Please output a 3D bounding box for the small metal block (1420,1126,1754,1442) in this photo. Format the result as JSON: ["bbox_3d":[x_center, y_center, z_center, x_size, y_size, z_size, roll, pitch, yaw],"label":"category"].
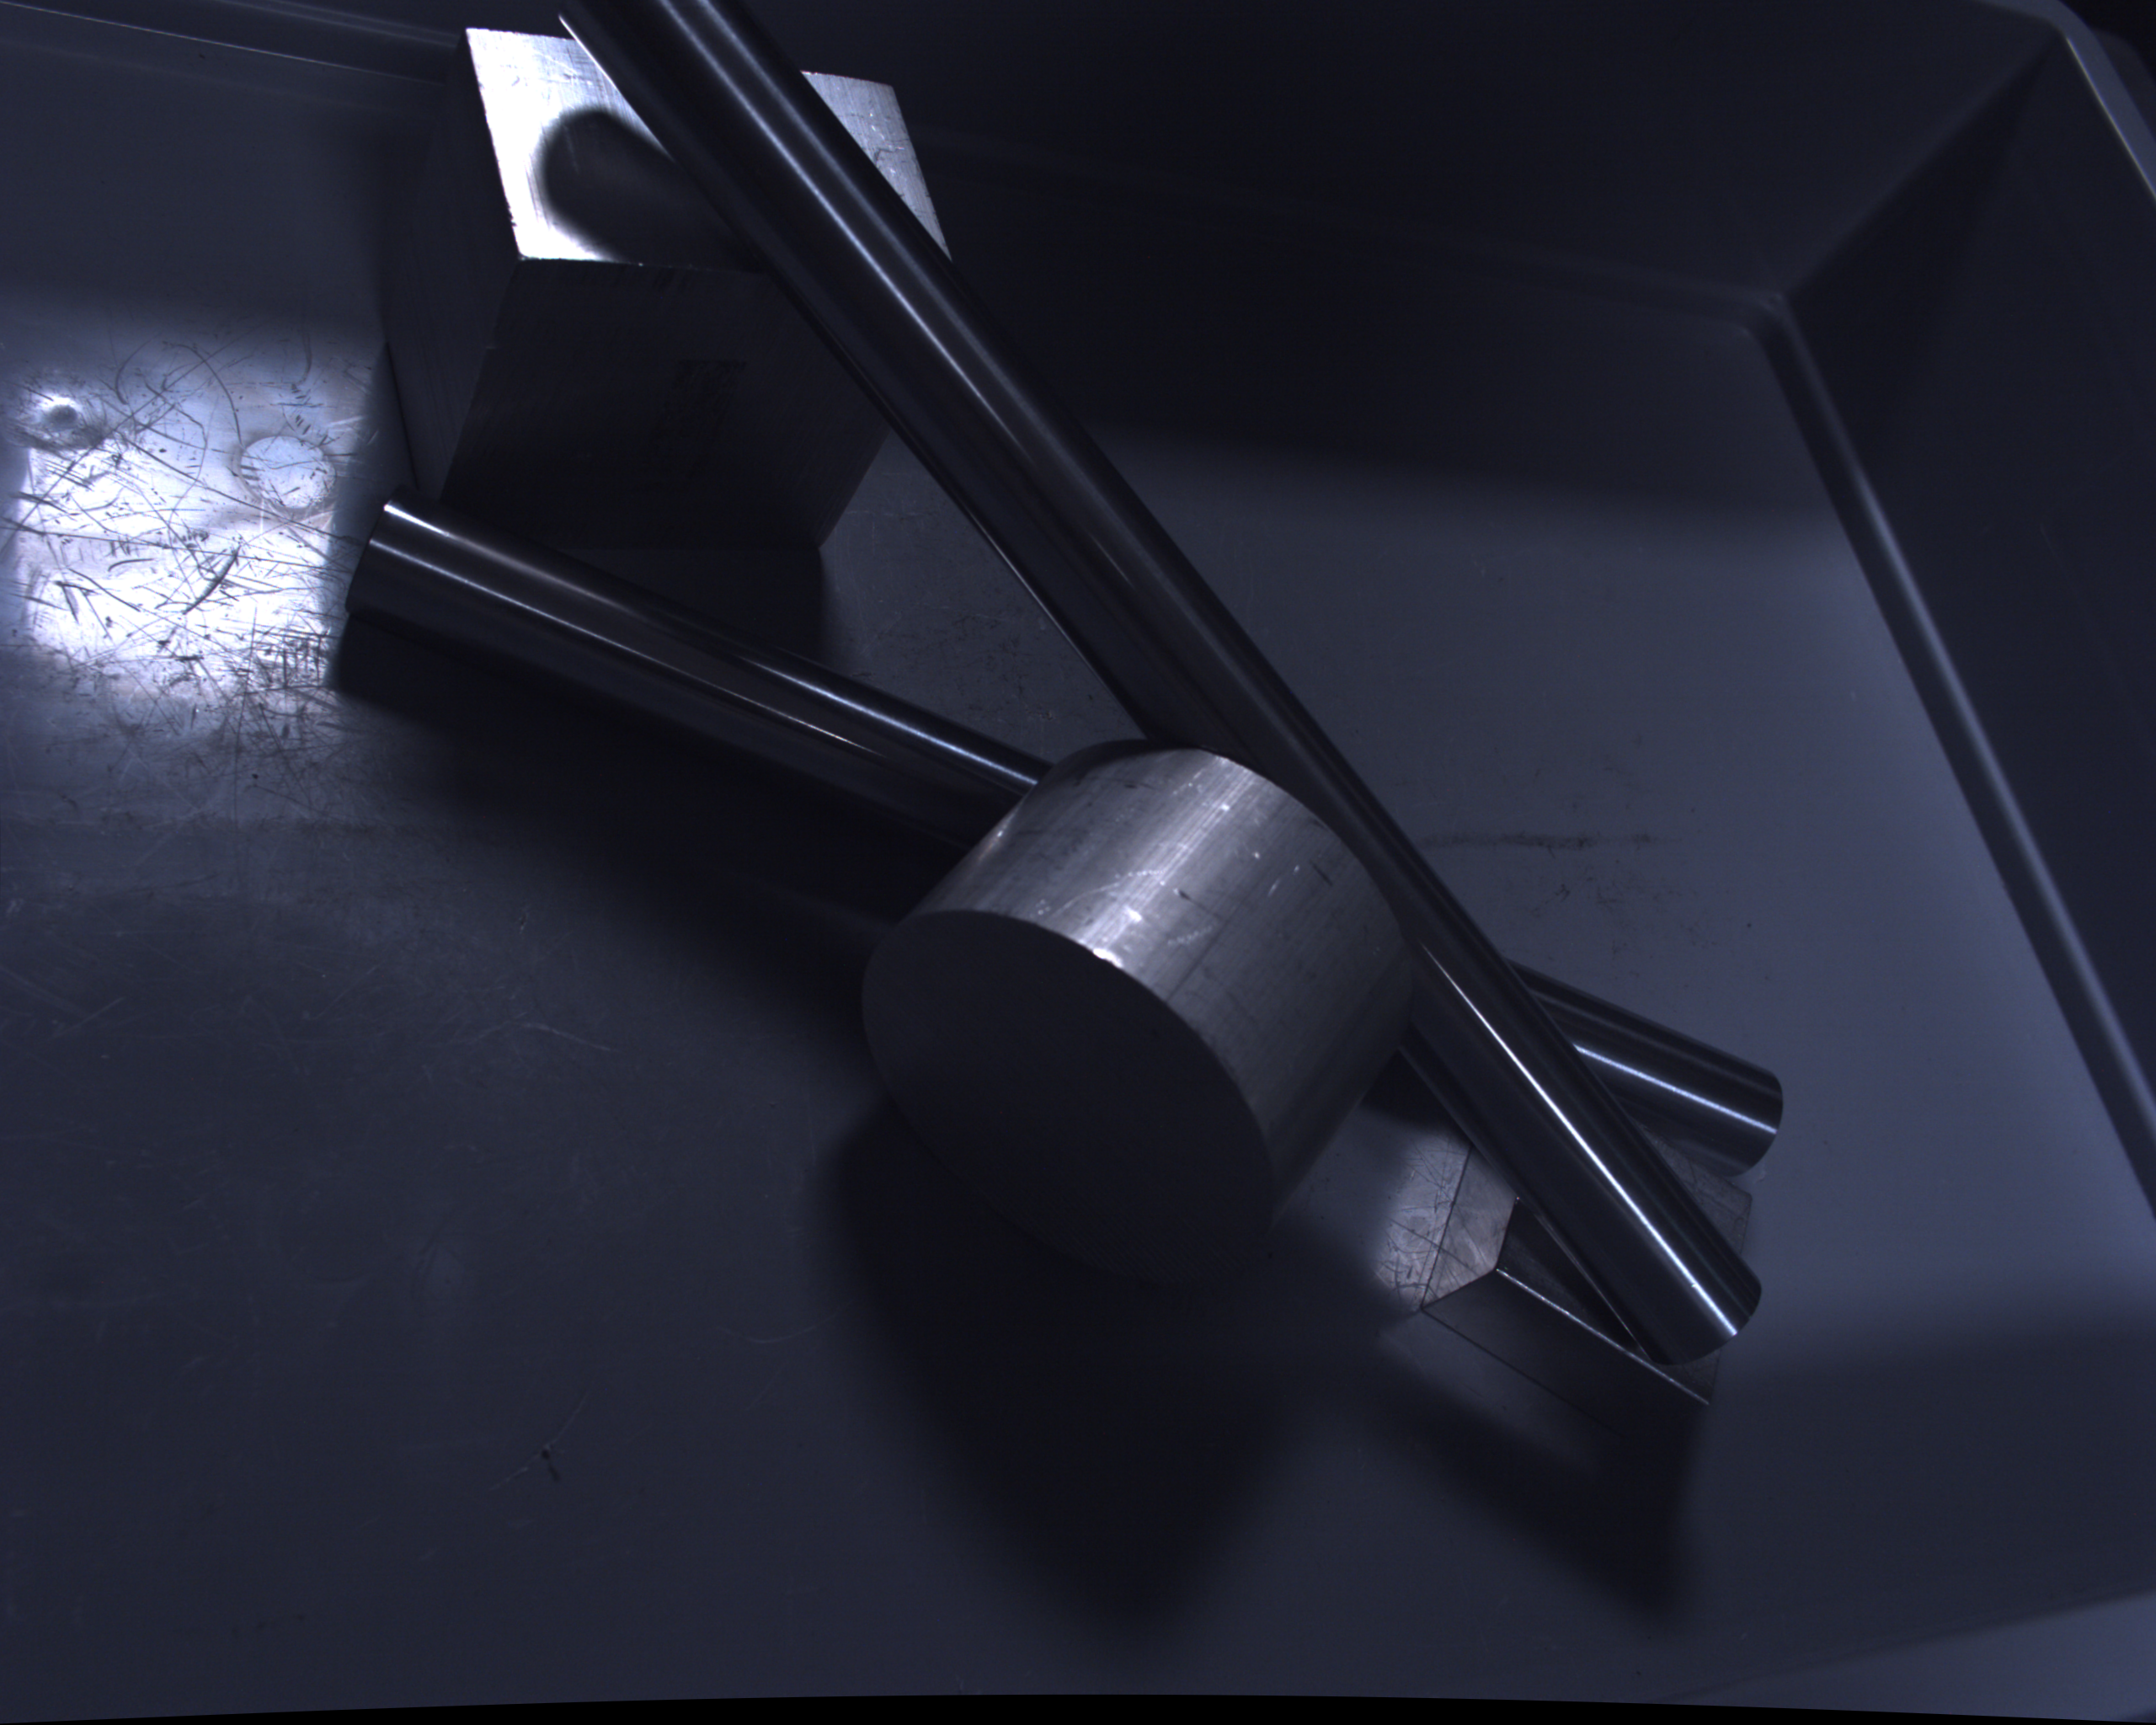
[{"bbox_3d":[0.102,0.078,0.413,0.050,0.025,0.050,33,51,-7],"label":"small metal block"}]

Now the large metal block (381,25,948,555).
[{"bbox_3d":[-0.079,-0.102,0.390,0.081,0.080,0.050,-4,64,-30],"label":"large metal block"}]

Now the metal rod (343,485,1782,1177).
[{"bbox_3d":[0.009,0.000,0.410,0.302,0.025,0.025,23,53,-15],"label":"metal rod"}]

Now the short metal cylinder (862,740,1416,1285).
[{"bbox_3d":[0.010,0.026,0.359,0.080,0.080,0.050,43,51,0],"label":"short metal cylinder"}]

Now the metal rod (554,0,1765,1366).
[{"bbox_3d":[0.020,-0.030,0.360,0.300,0.025,0.025,50,50,-9],"label":"metal rod"}]
